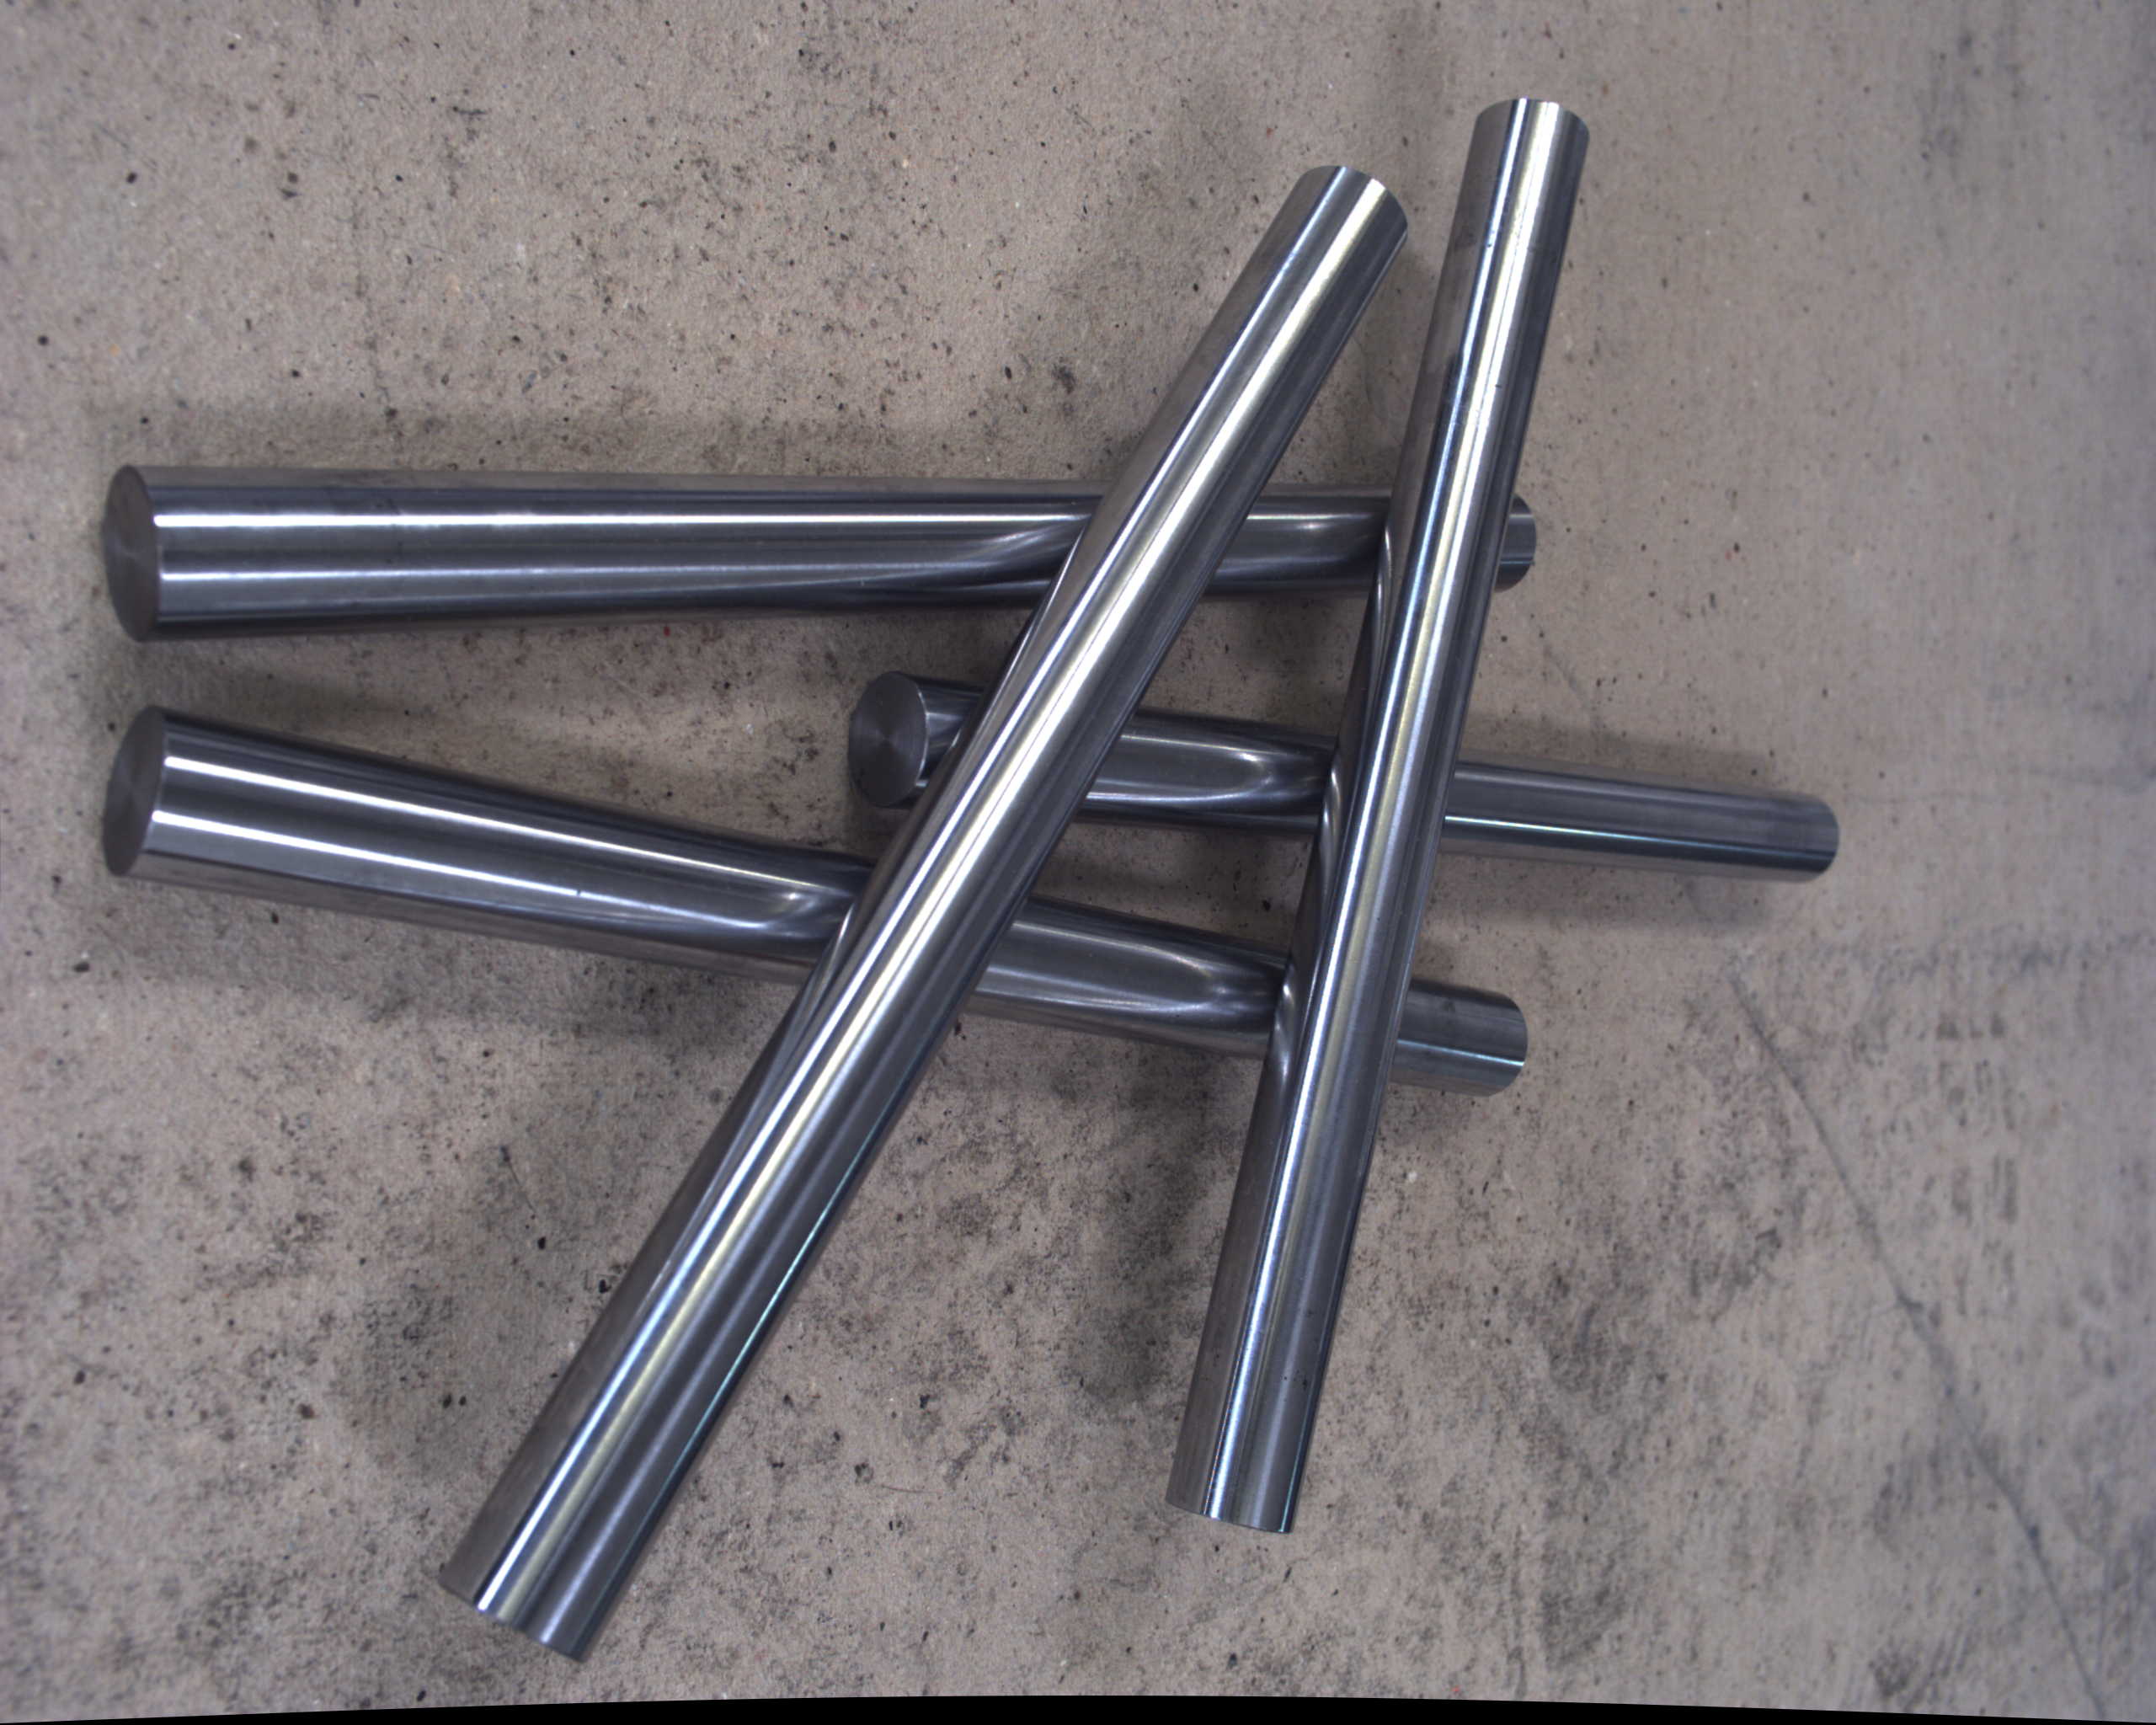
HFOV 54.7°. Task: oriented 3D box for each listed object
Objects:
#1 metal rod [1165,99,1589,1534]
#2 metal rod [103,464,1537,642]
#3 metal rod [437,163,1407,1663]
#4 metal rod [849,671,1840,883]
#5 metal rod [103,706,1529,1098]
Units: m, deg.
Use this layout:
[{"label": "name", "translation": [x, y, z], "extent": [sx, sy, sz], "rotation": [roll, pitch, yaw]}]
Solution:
[{"label": "metal rod", "translation": [0.064, -0.017, 0.427], "extent": [0.025, 0.025, 0.299], "rotation": [23, 76, -38]}, {"label": "metal rod", "translation": [-0.018, -0.060, 0.390], "extent": [0.302, 0.025, 0.025], "rotation": [-8, 95, -40]}, {"label": "metal rod", "translation": [-0.014, -0.010, 0.362], "extent": [0.025, 0.025, 0.300], "rotation": [44, 64, -31]}, {"label": "metal rod", "translation": [0.081, -0.014, 0.474], "extent": [0.302, 0.025, 0.025], "rotation": [4, 88, -40]}, {"label": "metal rod", "translation": [-0.019, 0.016, 0.390], "extent": [0.302, 0.025, 0.025], "rotation": [13, 82, -39]}]
